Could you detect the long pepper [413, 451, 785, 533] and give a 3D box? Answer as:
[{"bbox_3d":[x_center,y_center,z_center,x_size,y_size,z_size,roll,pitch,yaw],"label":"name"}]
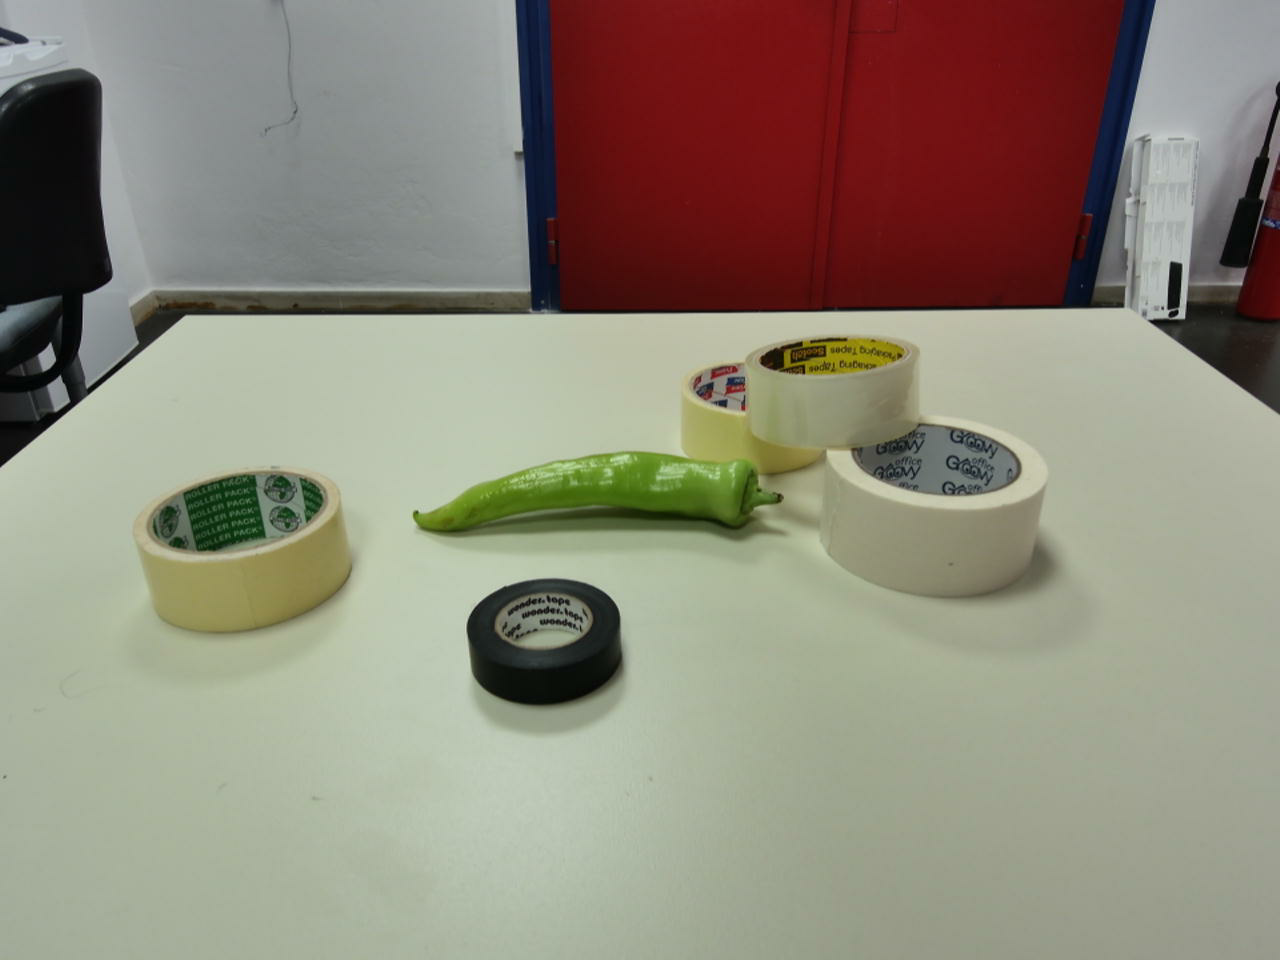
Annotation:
[{"bbox_3d":[-0.023,0.004,0.537,0.197,0.038,0.046,1,26,2],"label":"long pepper"}]
